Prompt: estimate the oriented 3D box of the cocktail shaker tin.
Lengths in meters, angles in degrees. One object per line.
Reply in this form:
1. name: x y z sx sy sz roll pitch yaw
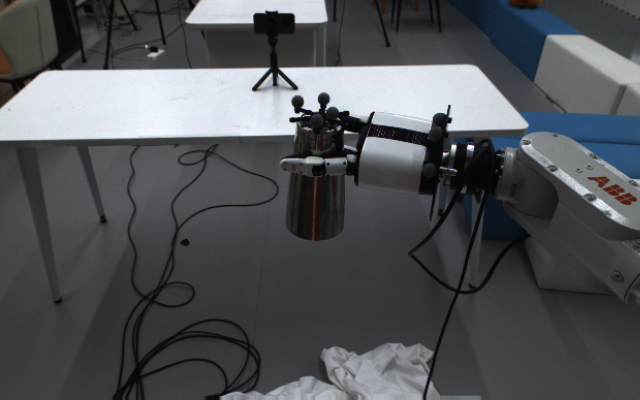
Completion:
1. cocktail shaker tin: -0.002 -0.040 0.713 0.093 0.170 0.093 3 33 -2
